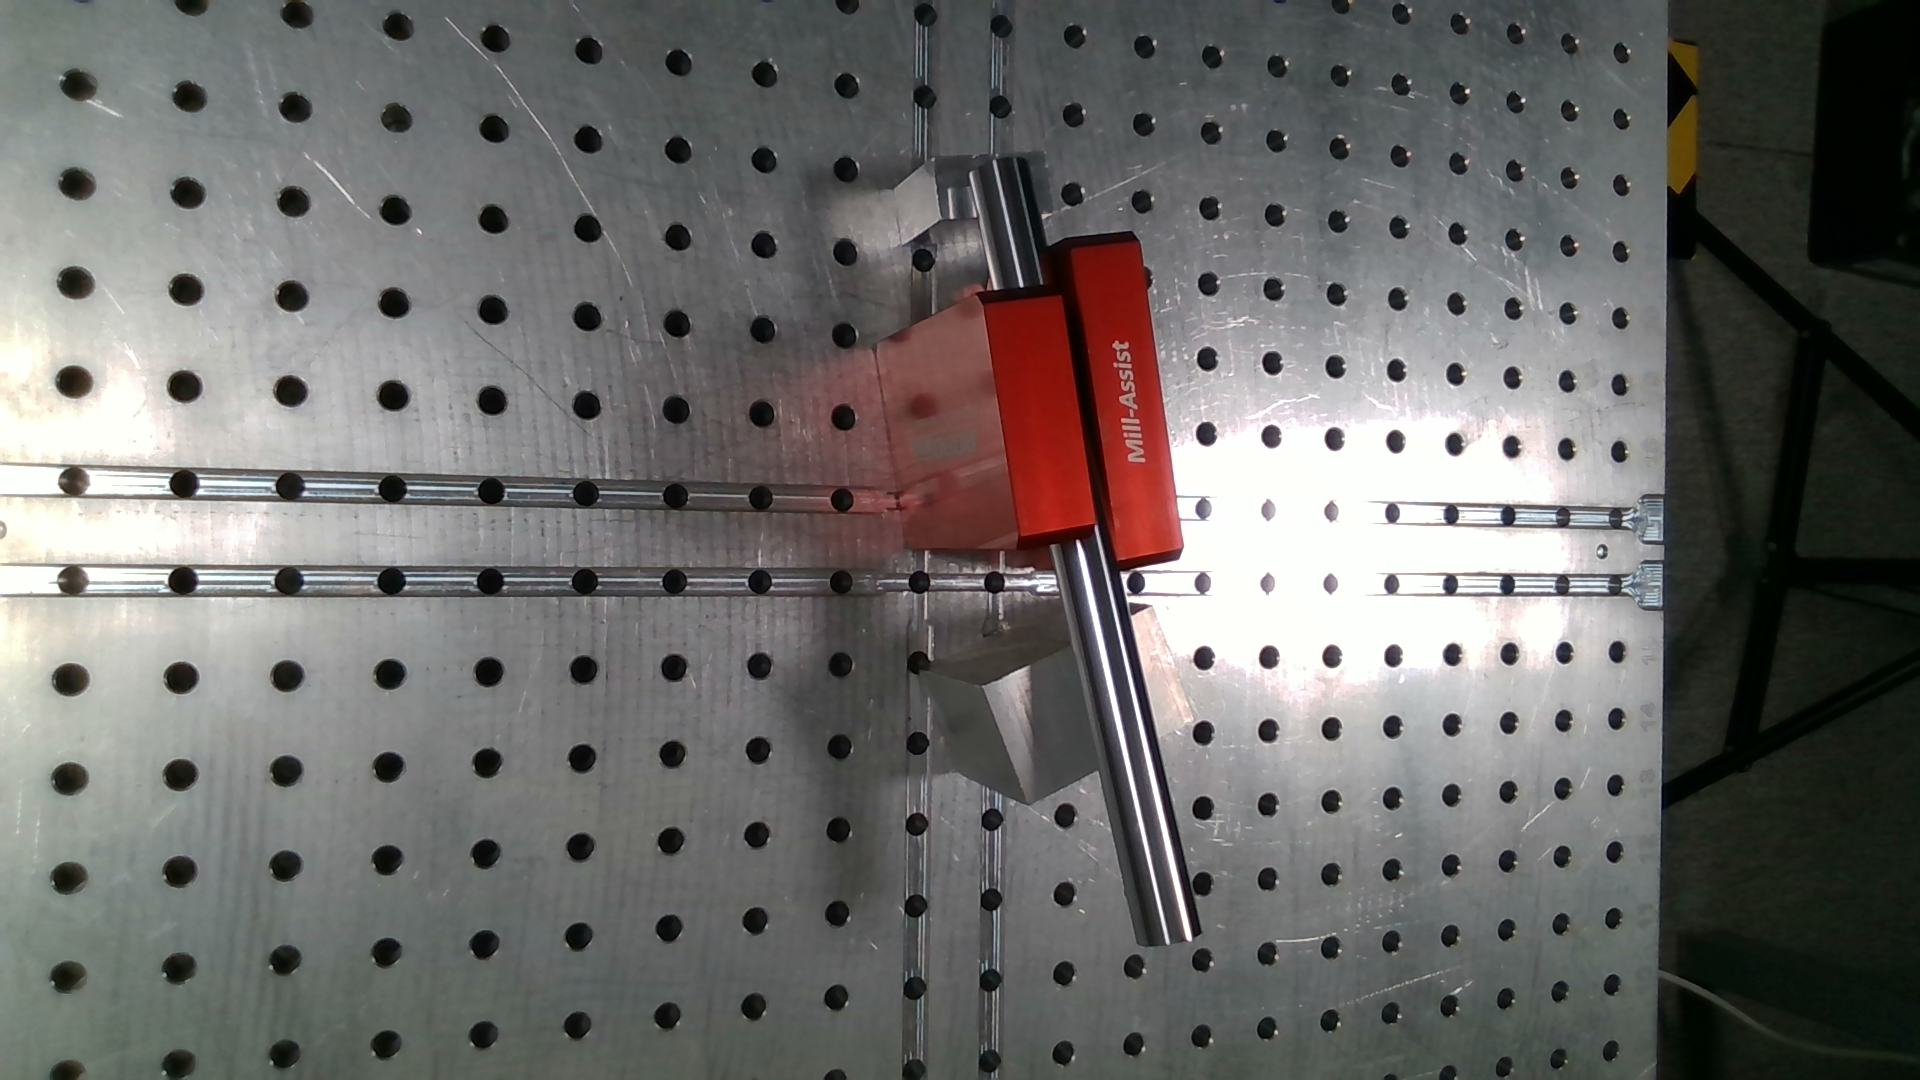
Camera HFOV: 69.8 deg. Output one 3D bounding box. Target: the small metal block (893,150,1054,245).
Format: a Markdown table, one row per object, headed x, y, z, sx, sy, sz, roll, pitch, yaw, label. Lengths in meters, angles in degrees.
| x | y | z | sx | sy | sz | roll | pitch | yaw | label |
| --- | --- | --- | --- | --- | --- | --- | --- | --- | --- |
| 0.005 | -0.143 | 0.576 | 0.050 | 0.050 | 0.025 | -9 | 93 | -20 | small metal block |

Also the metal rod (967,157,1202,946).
| x | y | z | sx | sy | sz | roll | pitch | yaw | label |
| --- | --- | --- | --- | --- | --- | --- | --- | --- | --- |
| 0.046 | 0.001 | 0.525 | 0.025 | 0.025 | 0.300 | -10 | 84 | -20 | metal rod |

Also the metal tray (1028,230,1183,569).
| x | y | z | sx | sy | sz | roll | pitch | yaw | label |
| --- | --- | --- | --- | --- | --- | --- | --- | --- | --- |
| 0.050 | -0.054 | 0.571 | 0.030 | 0.090 | 0.130 | -10 | 93 | -19 | metal tray |

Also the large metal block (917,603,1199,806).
| x | y | z | sx | sy | sz | roll | pitch | yaw | label |
| --- | --- | --- | --- | --- | --- | --- | --- | --- | --- |
| 0.038 | 0.063 | 0.572 | 0.080 | 0.080 | 0.050 | -24 | 98 | -19 | large metal block |

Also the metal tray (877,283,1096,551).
| x | y | z | sx | sy | sz | roll | pitch | yaw | label |
| --- | --- | --- | --- | --- | --- | --- | --- | --- | --- |
| 0.006 | -0.043 | 0.535 | 0.030 | 0.130 | 0.090 | -10 | 94 | -20 | metal tray |
